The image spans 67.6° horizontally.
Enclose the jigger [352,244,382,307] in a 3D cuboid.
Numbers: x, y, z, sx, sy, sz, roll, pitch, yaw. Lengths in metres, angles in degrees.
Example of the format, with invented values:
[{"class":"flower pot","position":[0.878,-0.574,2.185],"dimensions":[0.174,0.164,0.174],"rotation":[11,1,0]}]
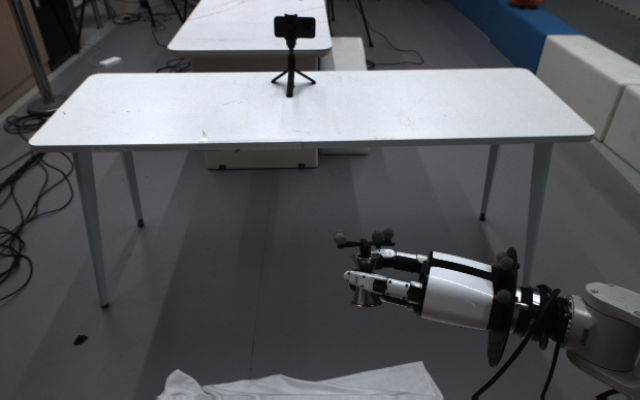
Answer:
[{"class":"jigger","position":[0.064,0.111,0.681],"dimensions":[0.043,0.071,0.043],"rotation":[-2,3,0]}]
